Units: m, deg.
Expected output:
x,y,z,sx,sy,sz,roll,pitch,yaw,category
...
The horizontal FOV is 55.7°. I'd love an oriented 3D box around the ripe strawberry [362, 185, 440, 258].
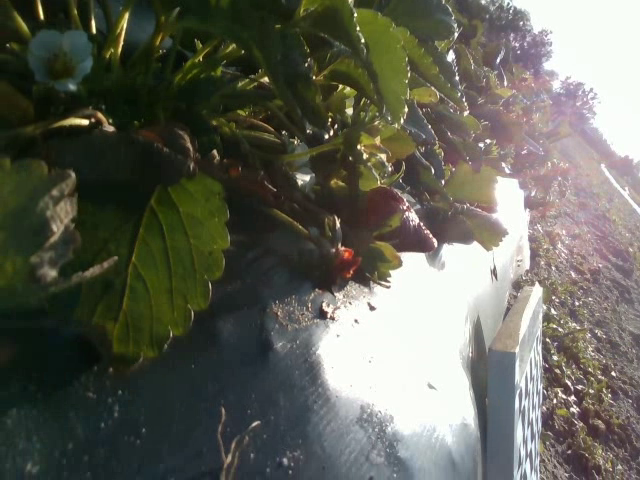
x,y,z,sx,sy,sz,roll,pitch,yaw,category
0.048,-0.008,0.354,0.051,0.041,0.052,26,42,3,ripe strawberry
